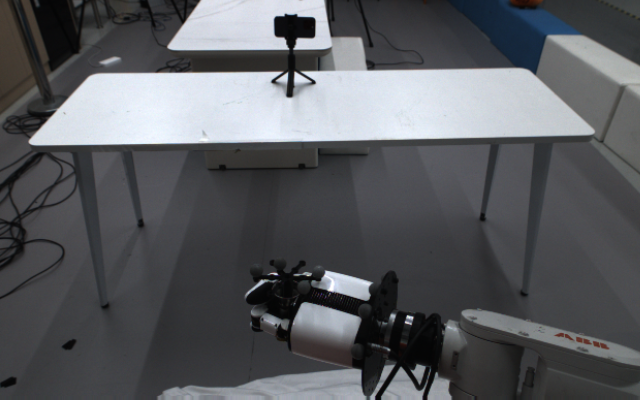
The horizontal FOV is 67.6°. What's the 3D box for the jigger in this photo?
[{"bbox_3d":[-0.041,0.147,0.660,0.043,0.071,0.043,3,25,-1],"label":"jigger"}]
